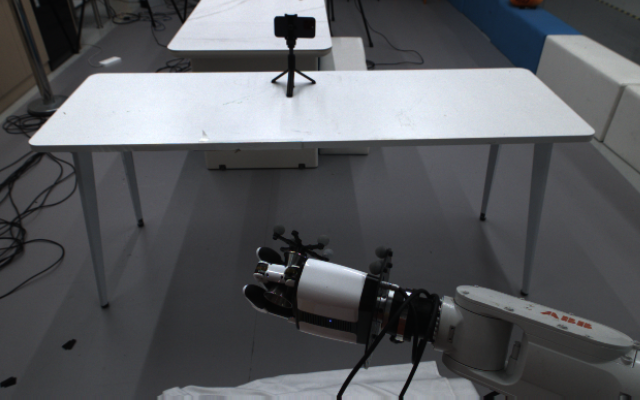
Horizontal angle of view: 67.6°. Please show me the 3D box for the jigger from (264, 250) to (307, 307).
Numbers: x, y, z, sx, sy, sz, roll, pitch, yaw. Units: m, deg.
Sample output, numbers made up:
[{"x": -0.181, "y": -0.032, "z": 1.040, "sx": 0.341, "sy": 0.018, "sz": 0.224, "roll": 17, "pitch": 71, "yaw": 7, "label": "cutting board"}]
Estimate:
[{"x": -0.042, "y": 0.110, "z": 0.673, "sx": 0.043, "sy": 0.043, "sz": 0.071, "roll": 13, "pitch": 58, "yaw": 16, "label": "jigger"}]
